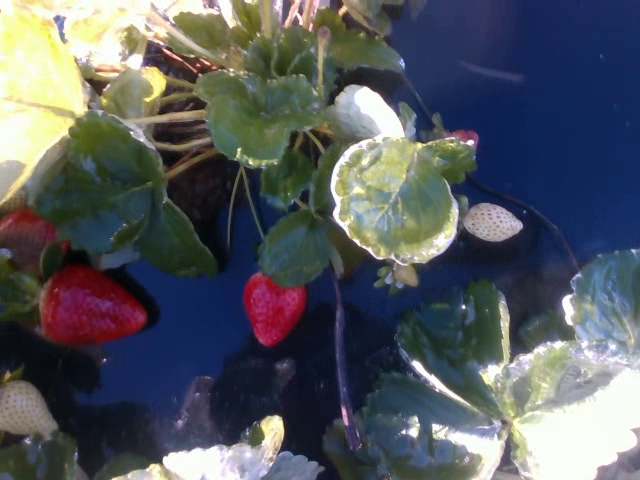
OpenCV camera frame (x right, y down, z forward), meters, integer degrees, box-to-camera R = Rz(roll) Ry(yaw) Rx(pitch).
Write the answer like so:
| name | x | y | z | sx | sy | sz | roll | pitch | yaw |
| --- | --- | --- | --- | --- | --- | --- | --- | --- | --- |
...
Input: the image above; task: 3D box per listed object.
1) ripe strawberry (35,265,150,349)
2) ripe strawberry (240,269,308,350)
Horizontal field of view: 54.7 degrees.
| name | x | y | z | sx | sy | sz | roll | pitch | yaw |
| --- | --- | --- | --- | --- | --- | --- | --- | --- | --- |
| ripe strawberry | -0.117 | 0.040 | 0.319 | 0.056 | 0.044 | 0.040 | 19 | 9 | -12 |
| ripe strawberry | -0.023 | 0.037 | 0.318 | 0.039 | 0.047 | 0.040 | 8 | 0 | -10 |
